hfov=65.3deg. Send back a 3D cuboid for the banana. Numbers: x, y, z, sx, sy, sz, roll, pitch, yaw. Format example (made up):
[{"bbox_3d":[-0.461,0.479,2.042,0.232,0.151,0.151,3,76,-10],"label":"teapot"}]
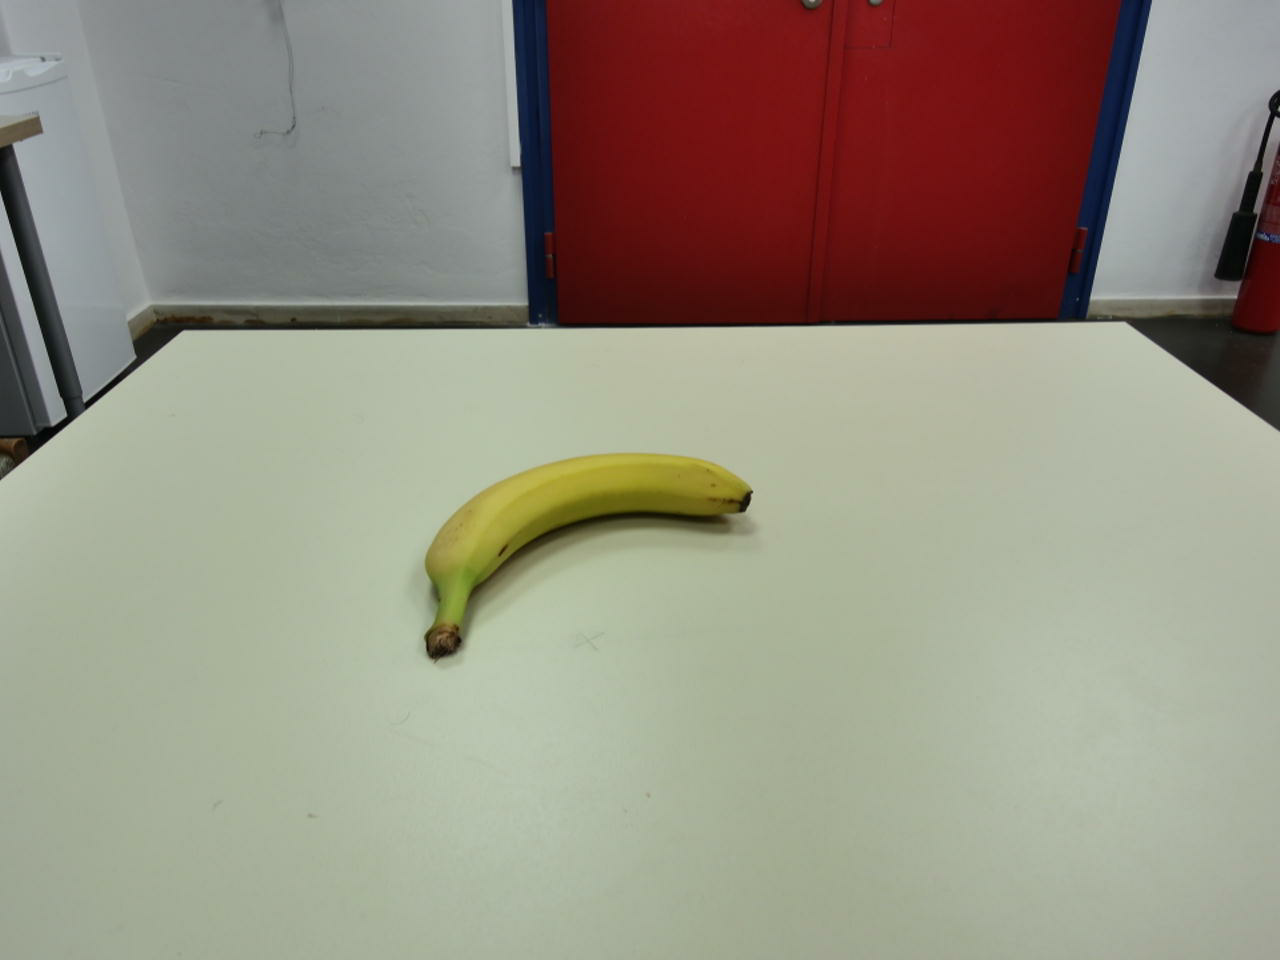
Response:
[{"bbox_3d":[-0.040,0.022,0.524,0.196,0.041,0.094,-18,31,-32],"label":"banana"}]
